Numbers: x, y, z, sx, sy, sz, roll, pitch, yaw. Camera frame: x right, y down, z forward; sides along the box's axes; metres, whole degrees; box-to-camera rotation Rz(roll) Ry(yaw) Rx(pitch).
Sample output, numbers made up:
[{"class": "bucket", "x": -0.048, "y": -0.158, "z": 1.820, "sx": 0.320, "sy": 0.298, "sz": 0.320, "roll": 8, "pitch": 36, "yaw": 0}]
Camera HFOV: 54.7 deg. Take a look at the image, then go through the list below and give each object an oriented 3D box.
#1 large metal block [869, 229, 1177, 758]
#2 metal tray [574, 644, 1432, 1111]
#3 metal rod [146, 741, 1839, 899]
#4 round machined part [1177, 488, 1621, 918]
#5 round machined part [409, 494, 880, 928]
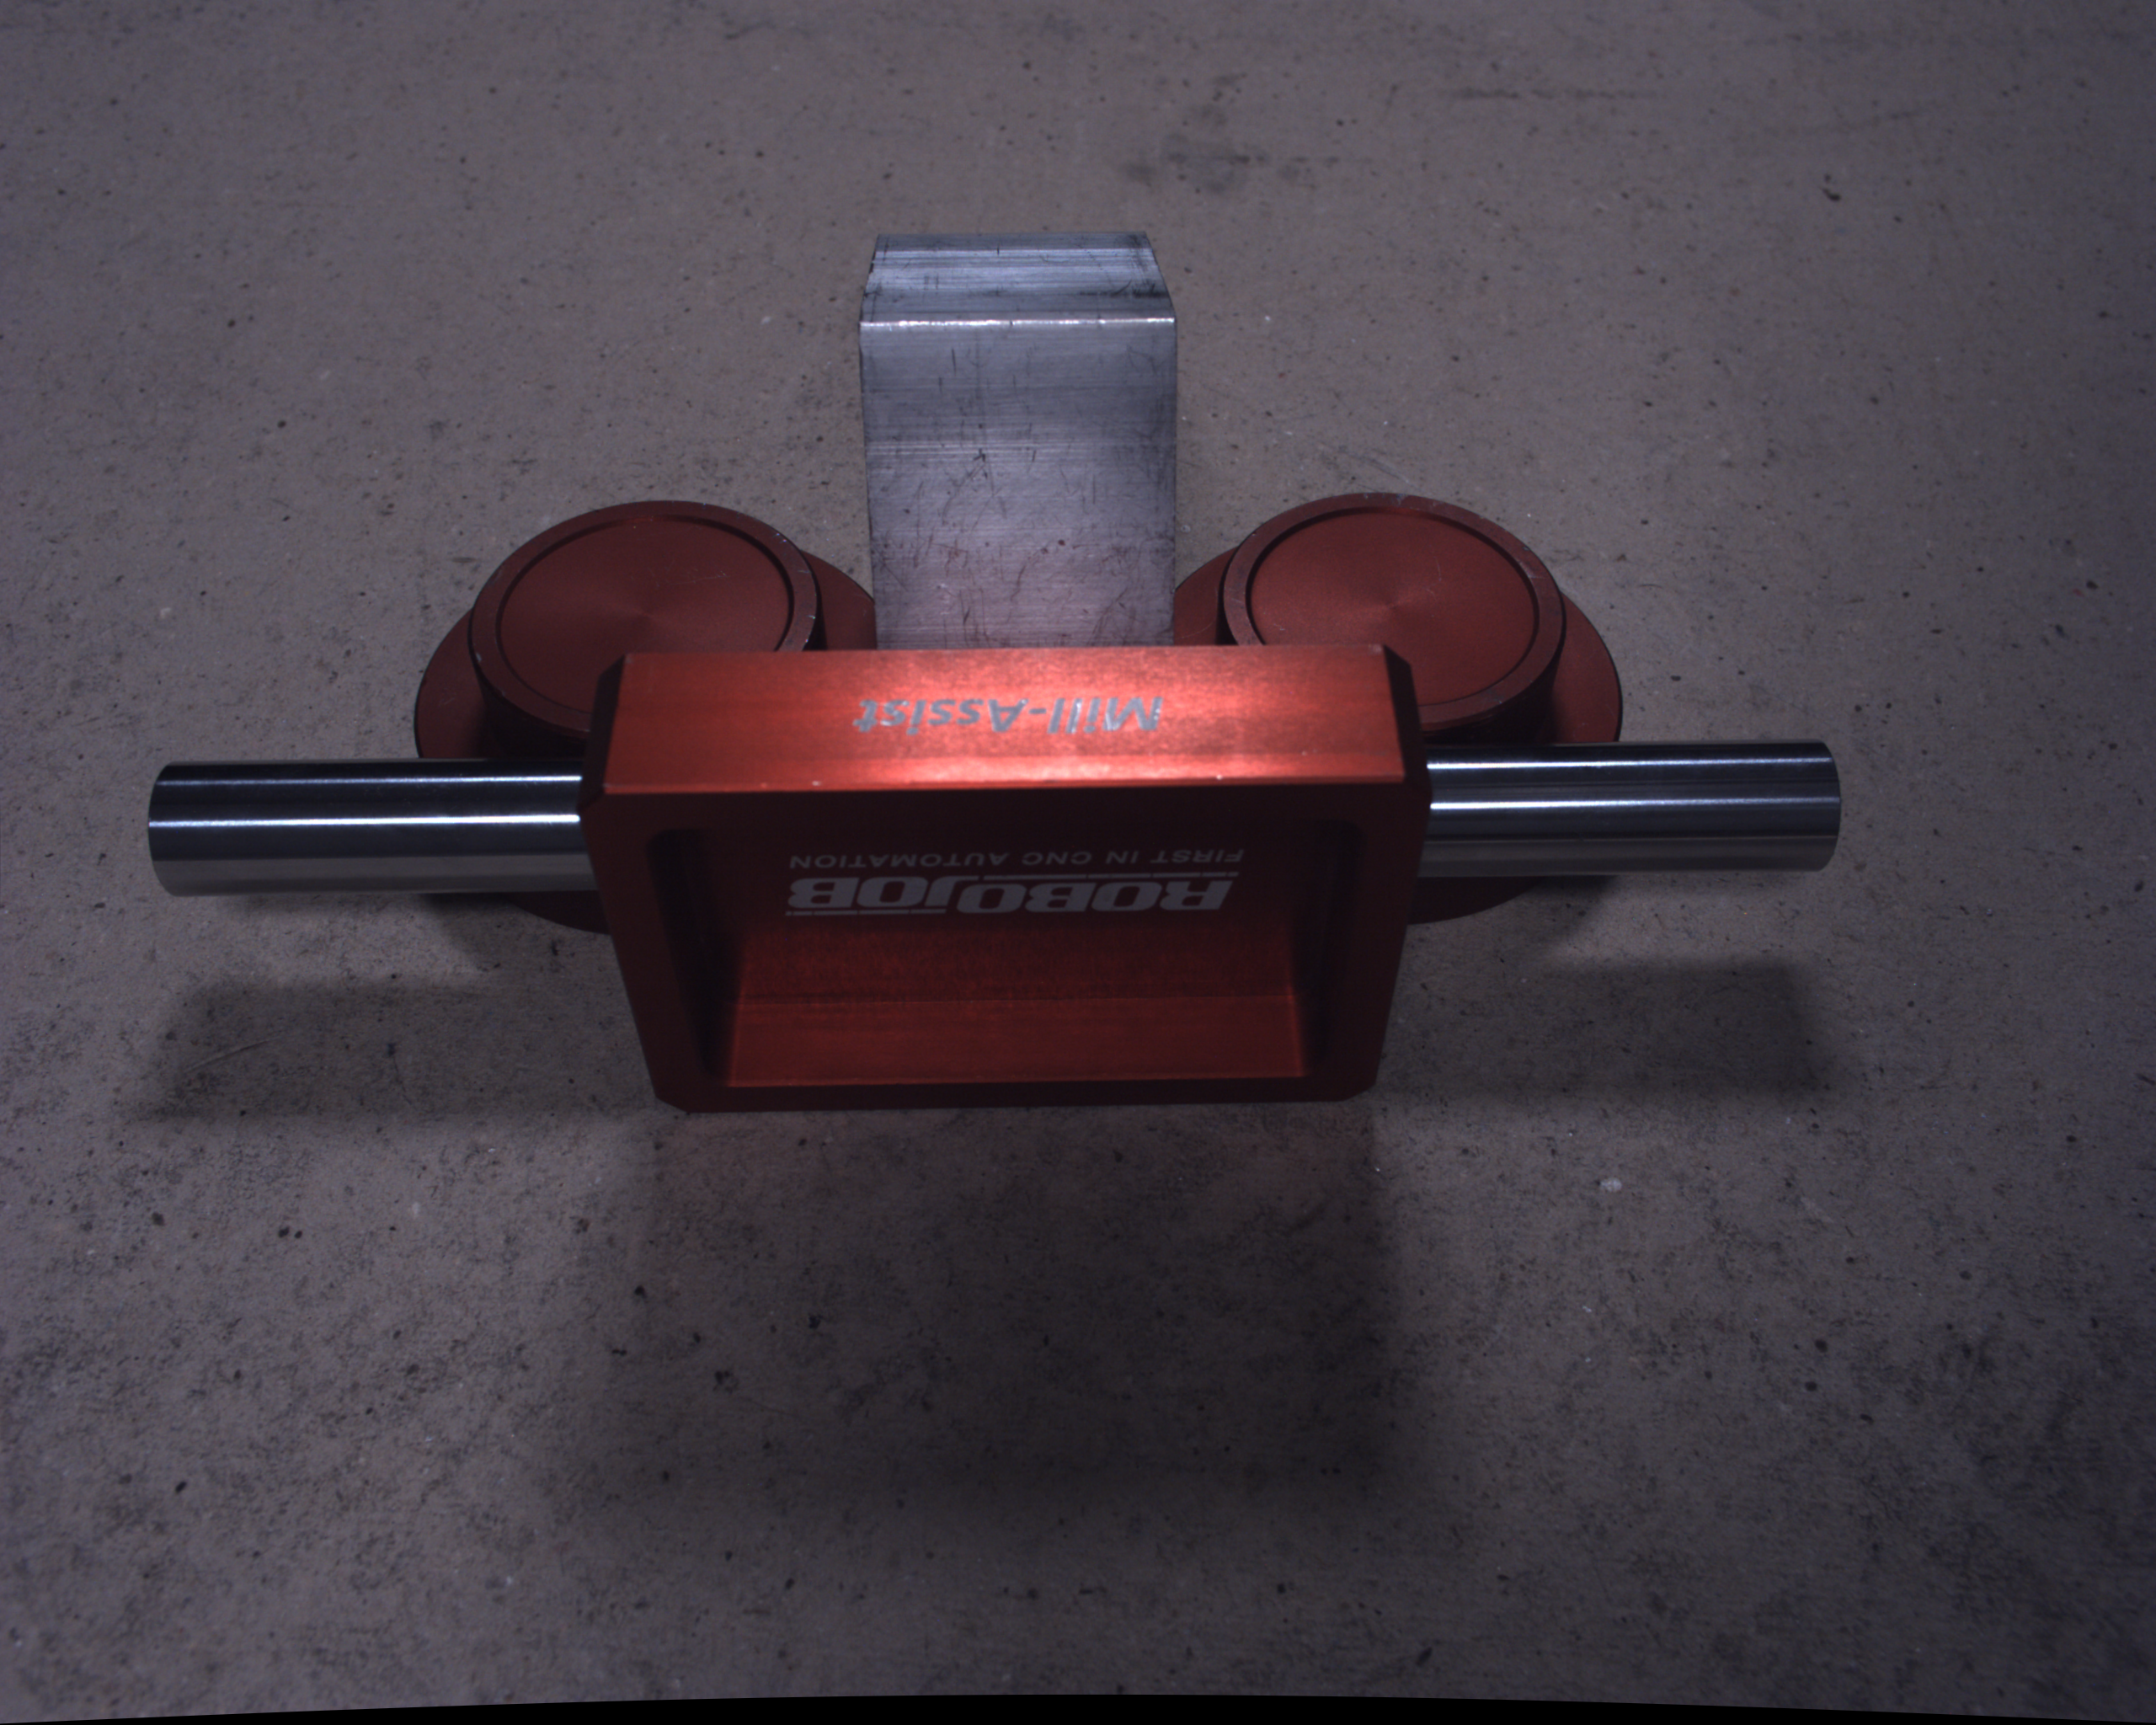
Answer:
[{"class": "large metal block", "x": -0.010, "y": -0.072, "z": 0.394, "sx": 0.050, "sy": 0.079, "sz": 0.080, "roll": -1, "pitch": 27, "yaw": -2}, {"class": "metal tray", "x": -0.012, "y": 0.005, "z": 0.358, "sx": 0.131, "sy": 0.089, "sz": 0.030, "roll": -1, "pitch": 50, "yaw": -1}, {"class": "metal rod", "x": -0.014, "y": -0.008, "z": 0.385, "sx": 0.302, "sy": 0.025, "sz": 0.025, "roll": -1, "pitch": 50, "yaw": -1}, {"class": "round machined part", "x": 0.061, "y": -0.039, "z": 0.426, "sx": 0.099, "sy": 0.042, "sz": 0.098, "roll": 0, "pitch": 50, "yaw": 0}, {"class": "round machined part", "x": -0.085, "y": -0.037, "z": 0.421, "sx": 0.099, "sy": 0.042, "sz": 0.098, "roll": 0, "pitch": 50, "yaw": 0}]
